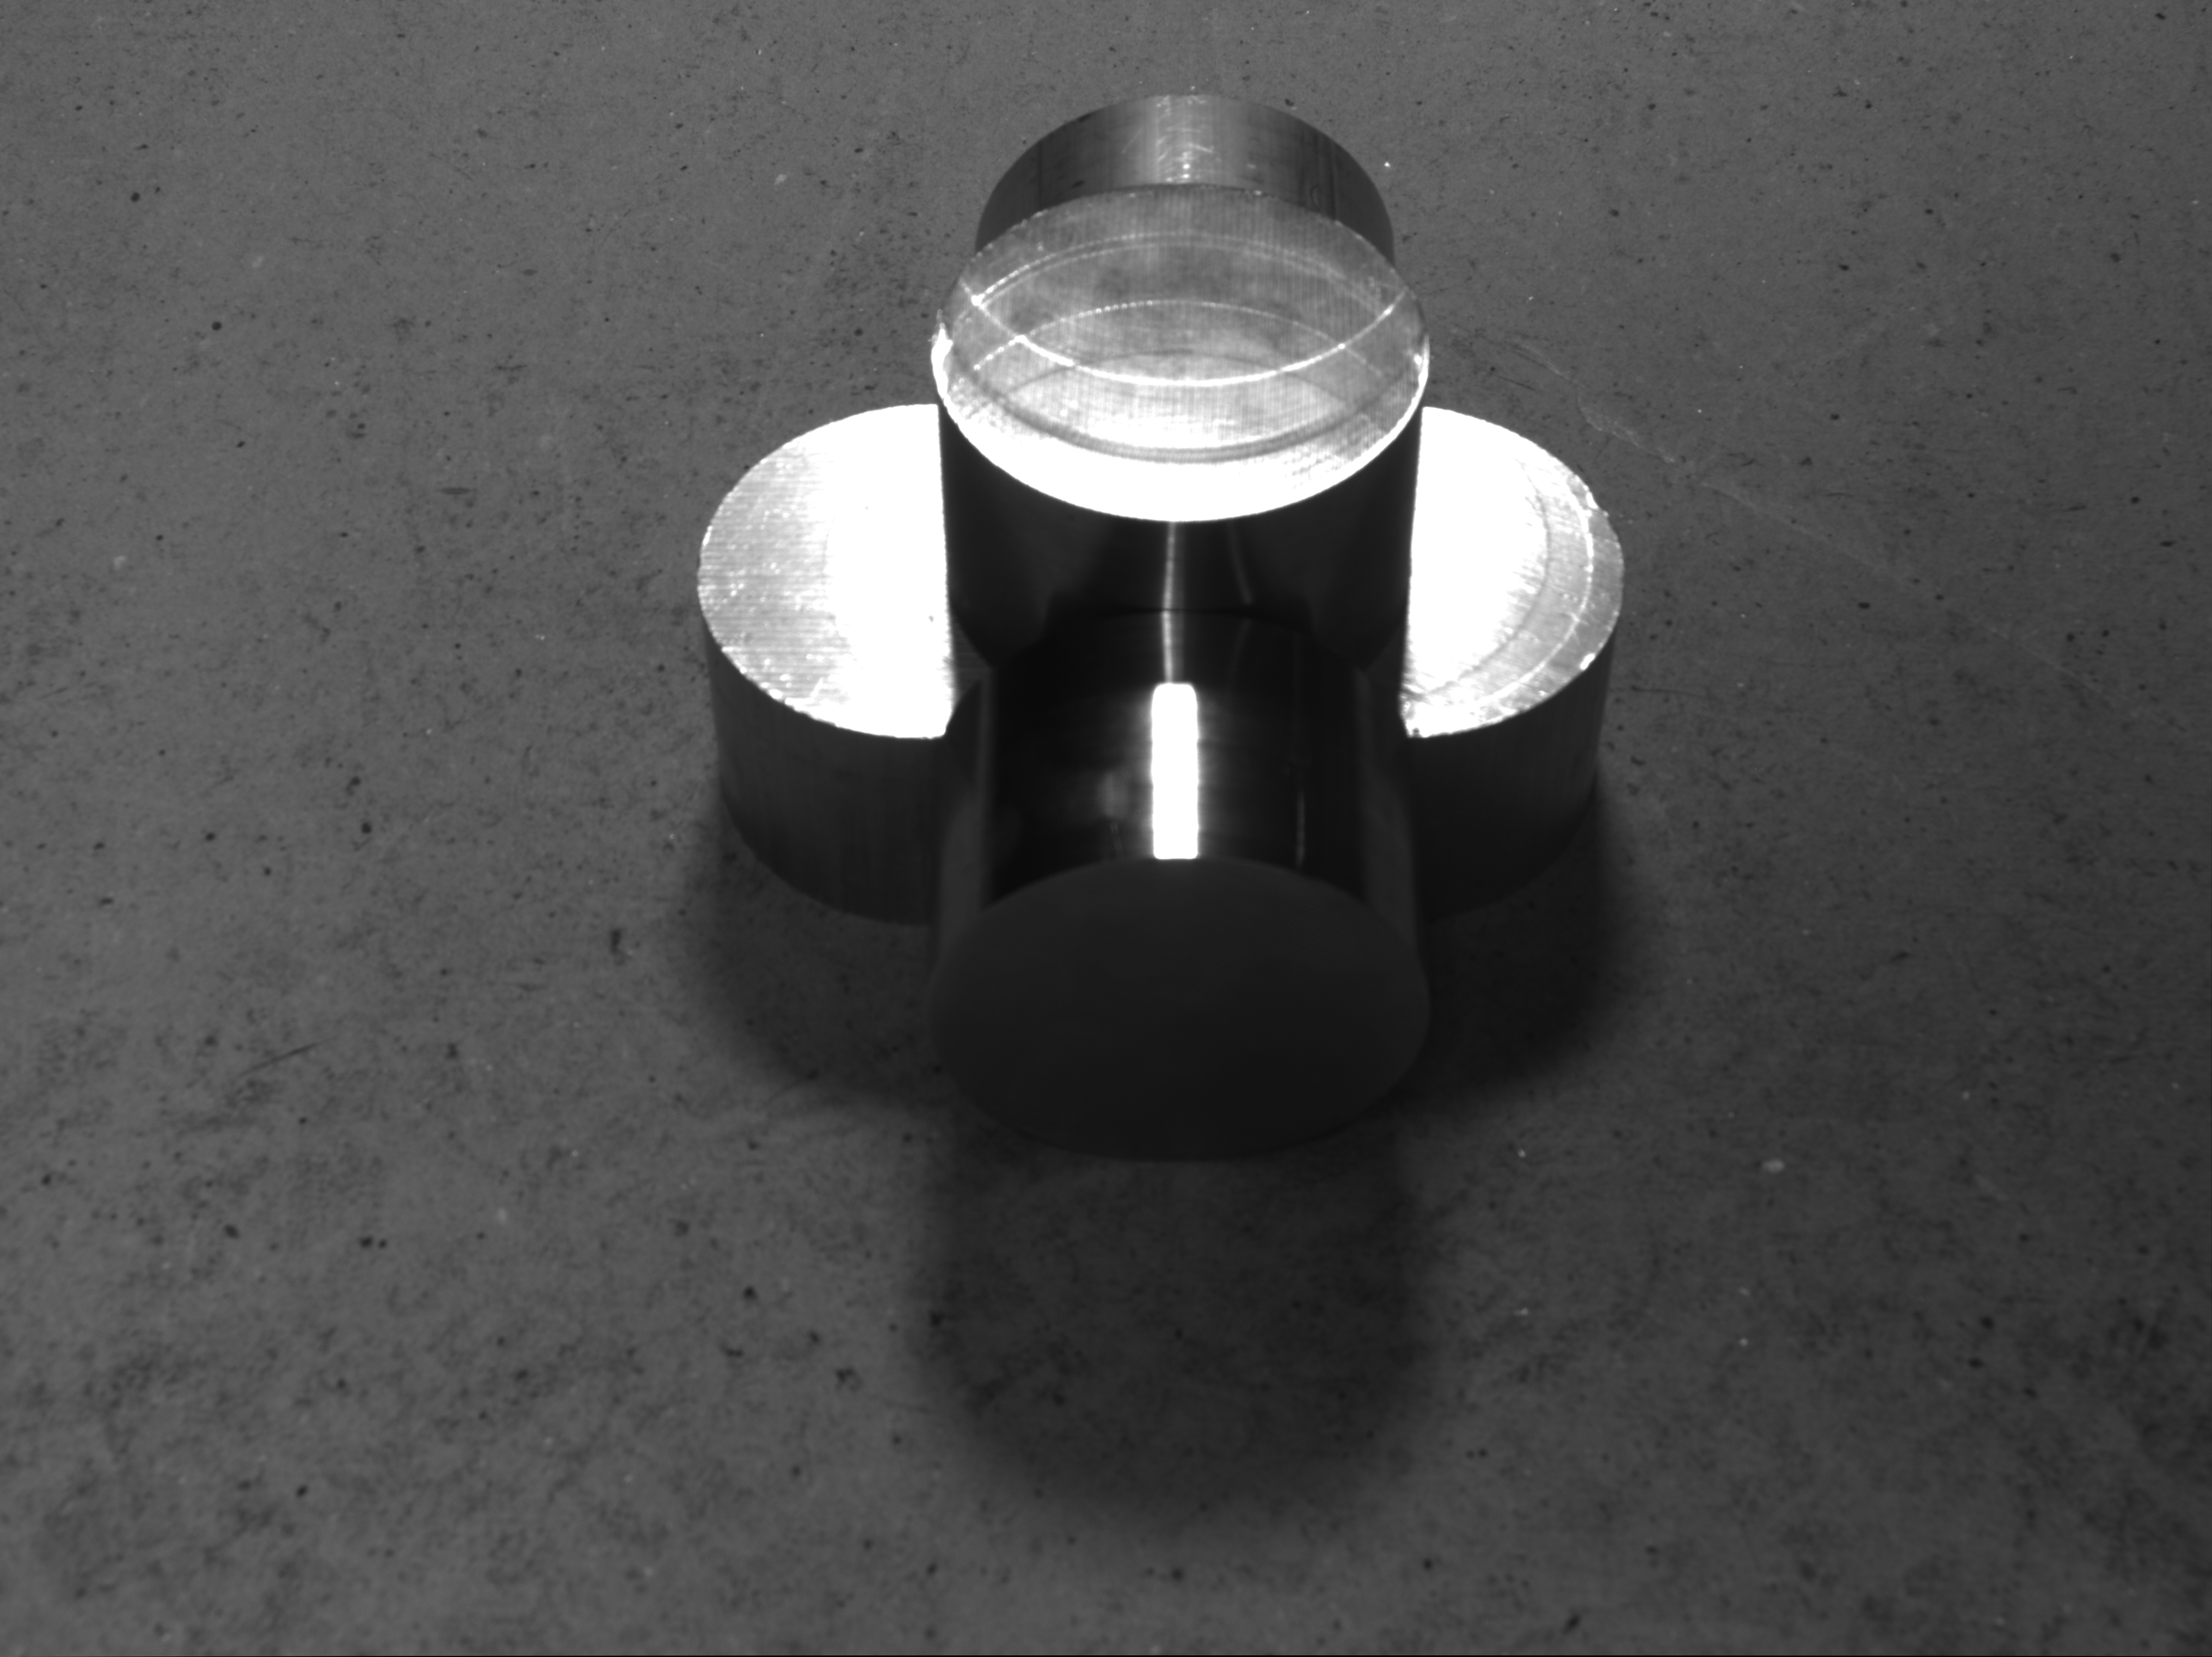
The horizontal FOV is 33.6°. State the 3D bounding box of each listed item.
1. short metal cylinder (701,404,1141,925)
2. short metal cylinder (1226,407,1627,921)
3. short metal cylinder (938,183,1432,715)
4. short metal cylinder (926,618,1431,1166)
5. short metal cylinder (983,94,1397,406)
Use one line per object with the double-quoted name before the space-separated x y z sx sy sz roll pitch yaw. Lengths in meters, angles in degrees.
"short metal cylinder" -0.030 -0.030 0.651 0.080 0.050 0.080 0 50 0
"short metal cylinder" 0.050 -0.030 0.651 0.080 0.050 0.080 0 50 0
"short metal cylinder" 0.013 -0.062 0.612 0.080 0.050 0.080 0 50 0
"short metal cylinder" 0.012 0.011 0.597 0.080 0.080 0.050 0 50 0
"short metal cylinder" 0.016 -0.089 0.682 0.080 0.080 0.050 0 50 0
